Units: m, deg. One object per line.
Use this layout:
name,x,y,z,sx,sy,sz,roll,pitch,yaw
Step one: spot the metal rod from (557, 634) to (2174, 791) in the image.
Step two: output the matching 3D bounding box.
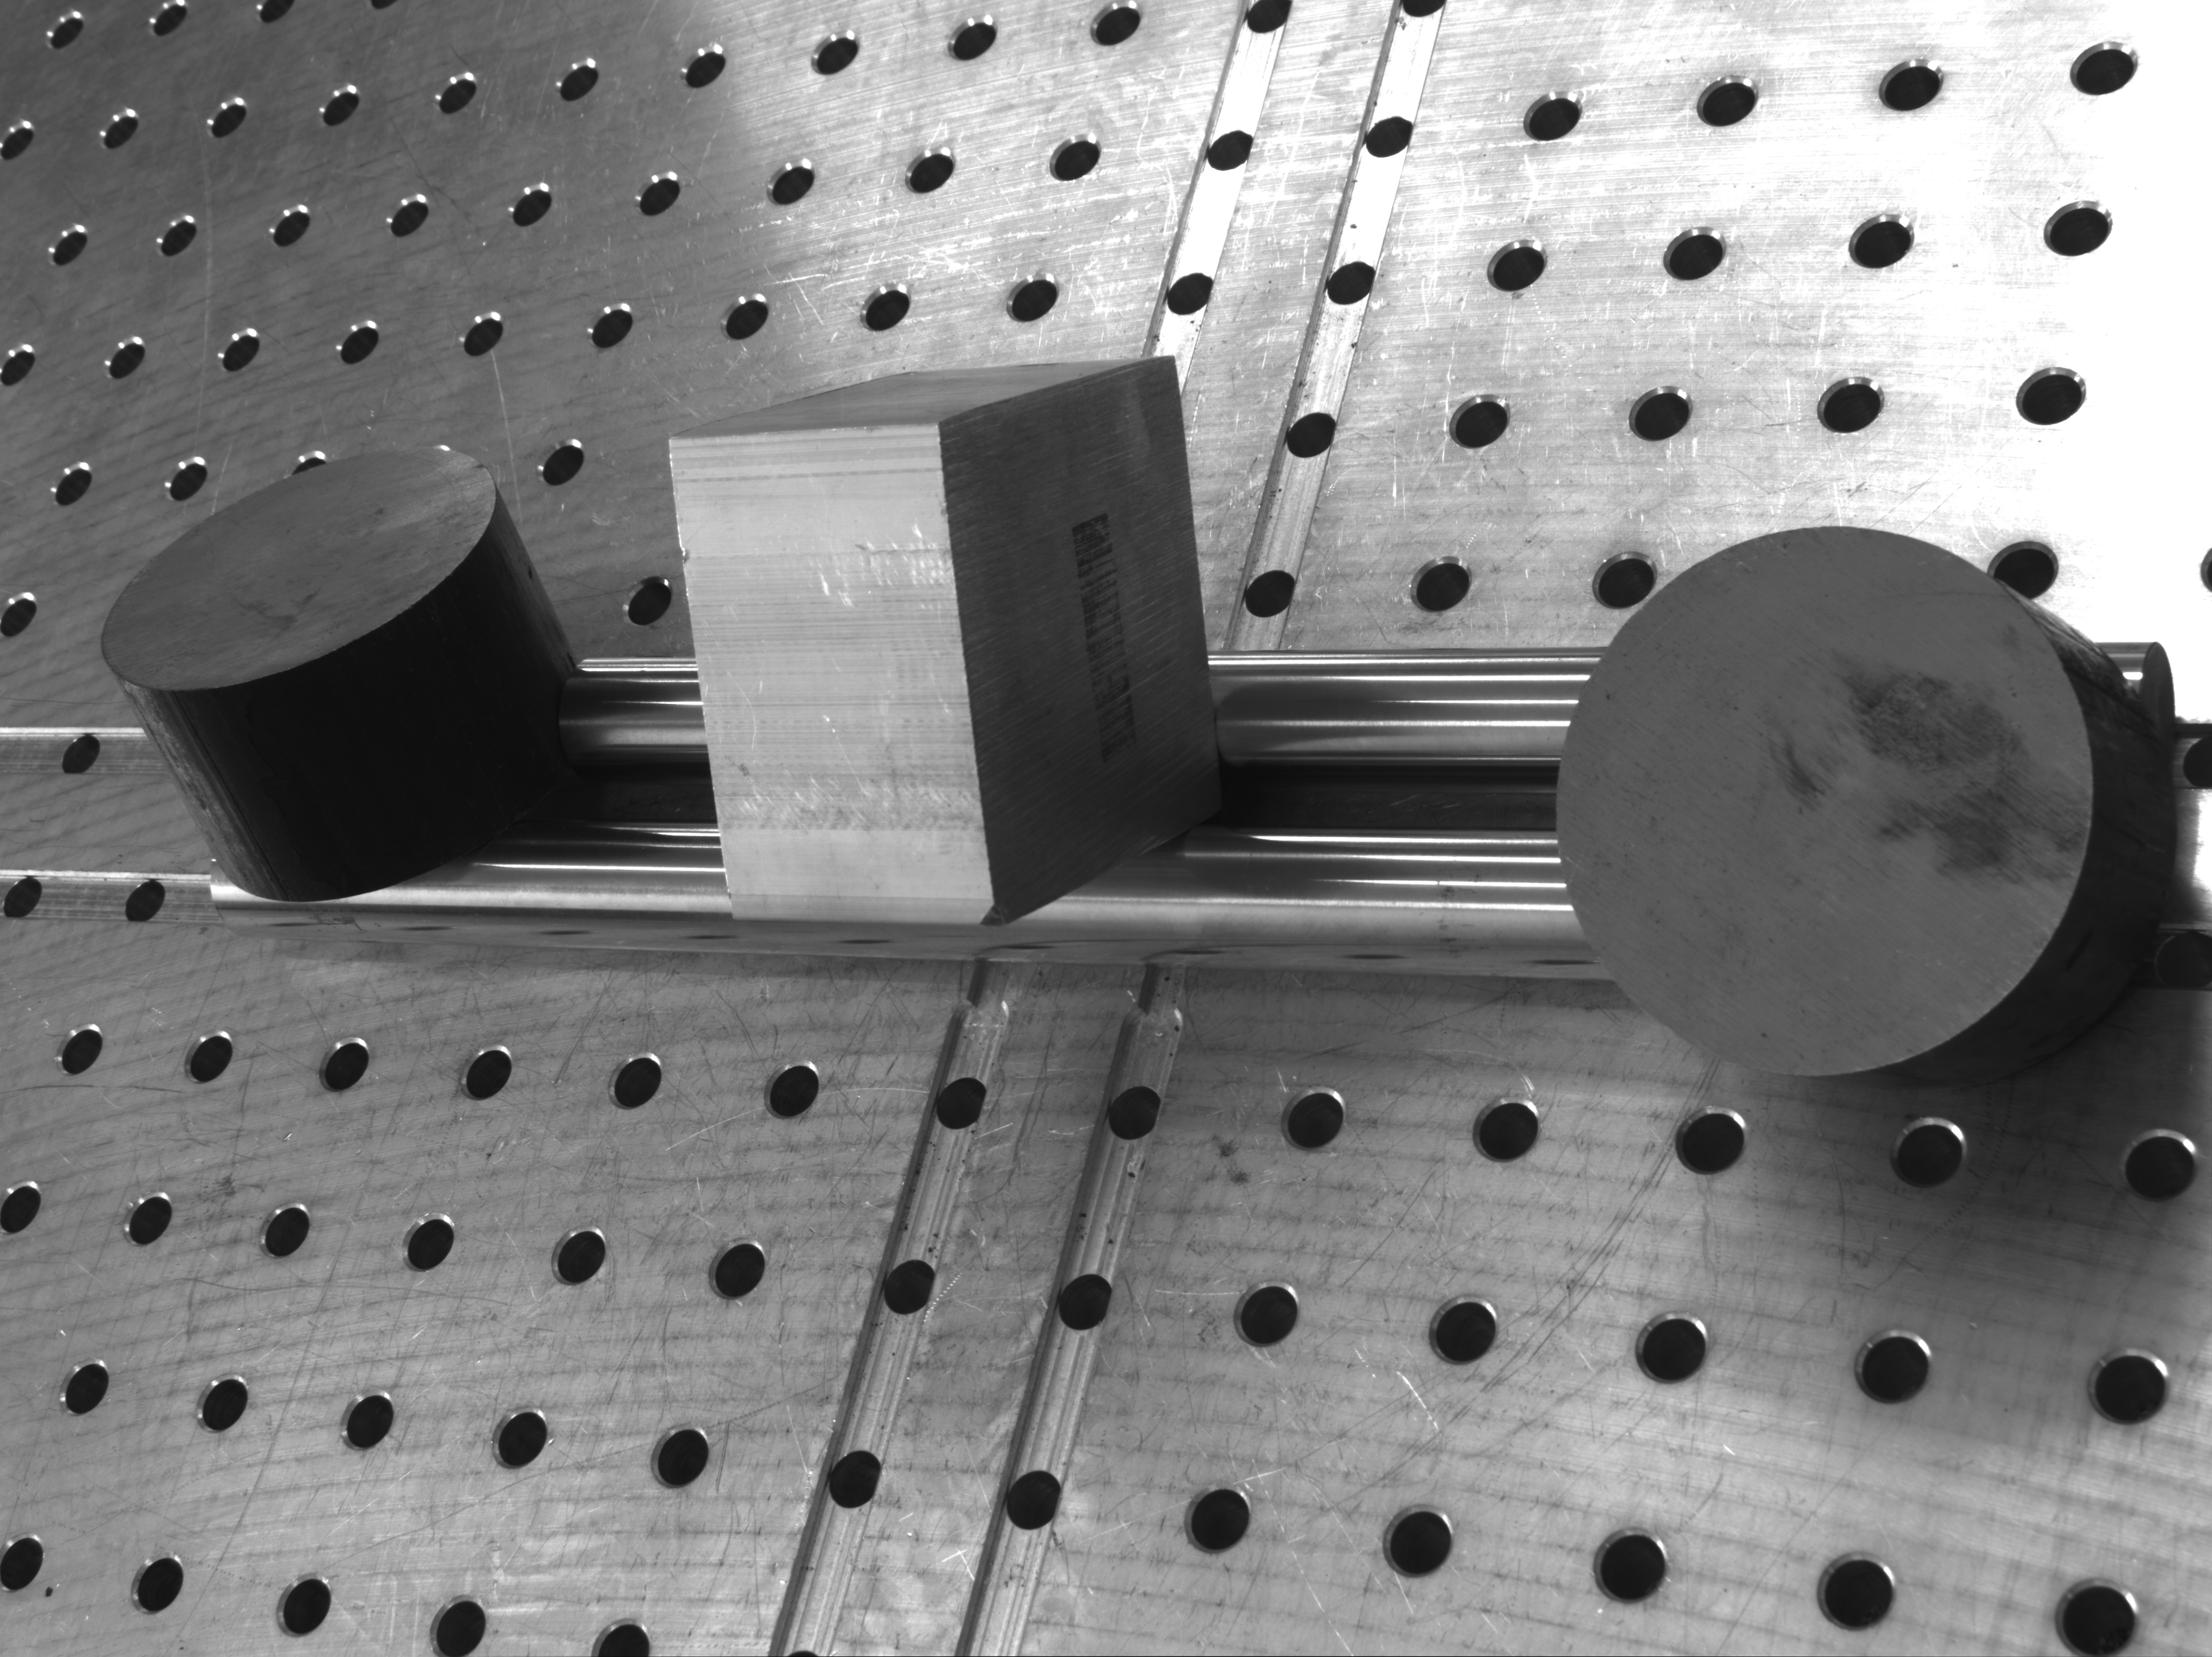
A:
metal rod,0.032,-0.019,0.643,0.299,0.025,0.025,1,62,29

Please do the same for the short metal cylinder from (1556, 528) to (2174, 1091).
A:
short metal cylinder,0.115,-0.001,0.554,0.080,0.050,0.080,-4,82,29

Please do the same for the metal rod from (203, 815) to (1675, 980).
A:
metal rod,-0.041,0.011,0.663,0.299,0.025,0.025,1,62,29

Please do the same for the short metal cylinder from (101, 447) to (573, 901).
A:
short metal cylinder,-0.146,-0.031,0.712,0.080,0.050,0.080,-14,34,10

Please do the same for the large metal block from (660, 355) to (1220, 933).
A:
large metal block,-0.025,-0.032,0.608,0.050,0.080,0.080,1,104,29
